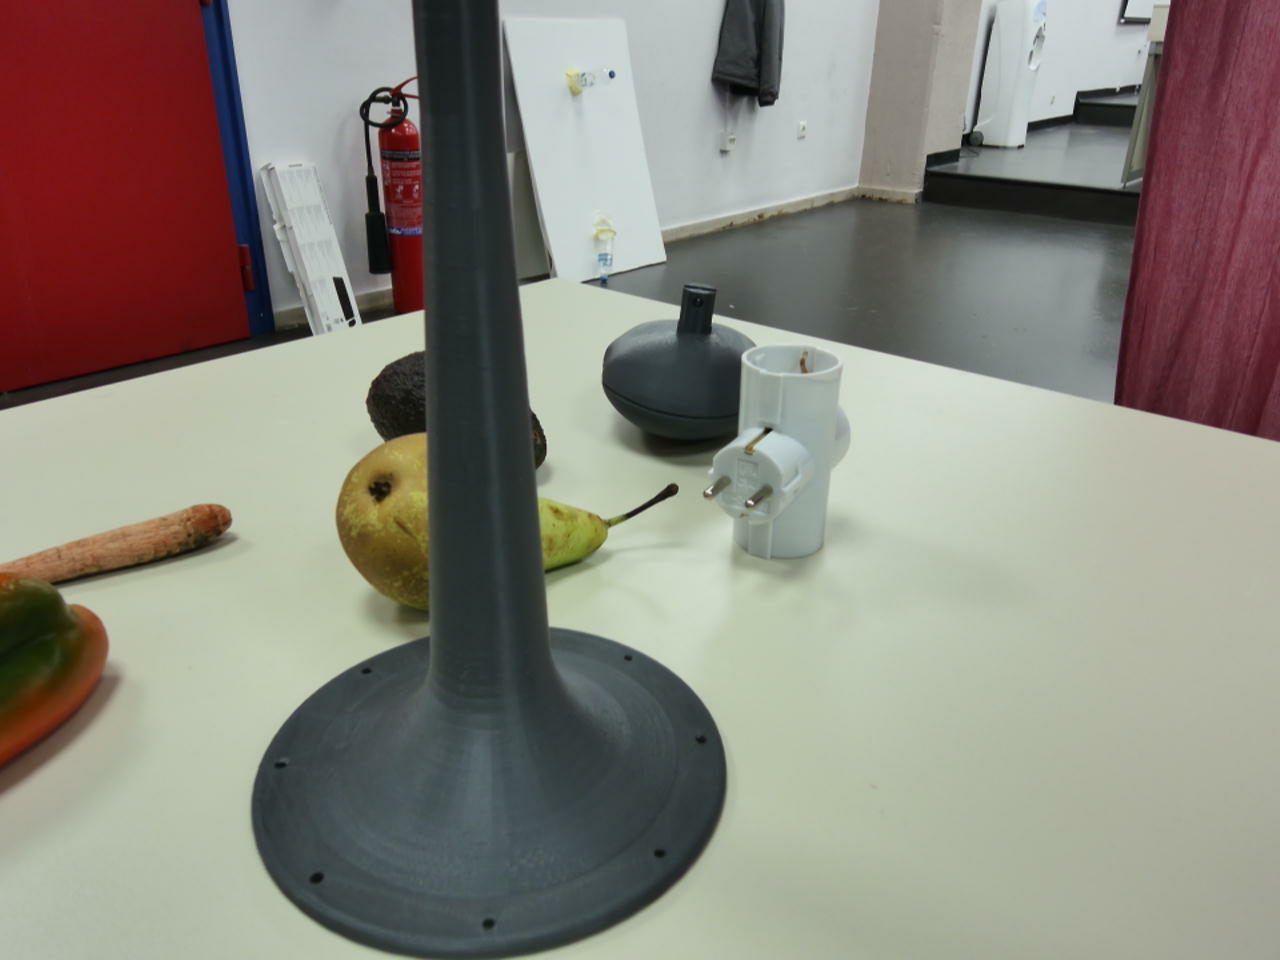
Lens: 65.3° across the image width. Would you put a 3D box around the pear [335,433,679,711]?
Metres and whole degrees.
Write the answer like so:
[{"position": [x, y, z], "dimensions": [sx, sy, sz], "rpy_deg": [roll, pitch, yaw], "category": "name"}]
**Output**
[{"position": [-0.058, 0.007, 0.426], "dimensions": [0.144, 0.075, 0.072], "rpy_deg": [-21, 30, -40], "category": "pear"}]
